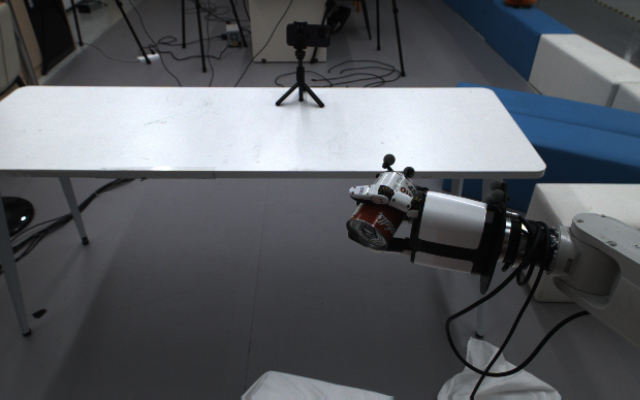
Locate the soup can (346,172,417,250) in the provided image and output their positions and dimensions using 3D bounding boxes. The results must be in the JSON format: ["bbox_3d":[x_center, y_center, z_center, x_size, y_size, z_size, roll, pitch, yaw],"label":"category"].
[{"bbox_3d":[0.095,0.013,0.710,0.067,0.067,0.101,22,60,26],"label":"soup can"}]
